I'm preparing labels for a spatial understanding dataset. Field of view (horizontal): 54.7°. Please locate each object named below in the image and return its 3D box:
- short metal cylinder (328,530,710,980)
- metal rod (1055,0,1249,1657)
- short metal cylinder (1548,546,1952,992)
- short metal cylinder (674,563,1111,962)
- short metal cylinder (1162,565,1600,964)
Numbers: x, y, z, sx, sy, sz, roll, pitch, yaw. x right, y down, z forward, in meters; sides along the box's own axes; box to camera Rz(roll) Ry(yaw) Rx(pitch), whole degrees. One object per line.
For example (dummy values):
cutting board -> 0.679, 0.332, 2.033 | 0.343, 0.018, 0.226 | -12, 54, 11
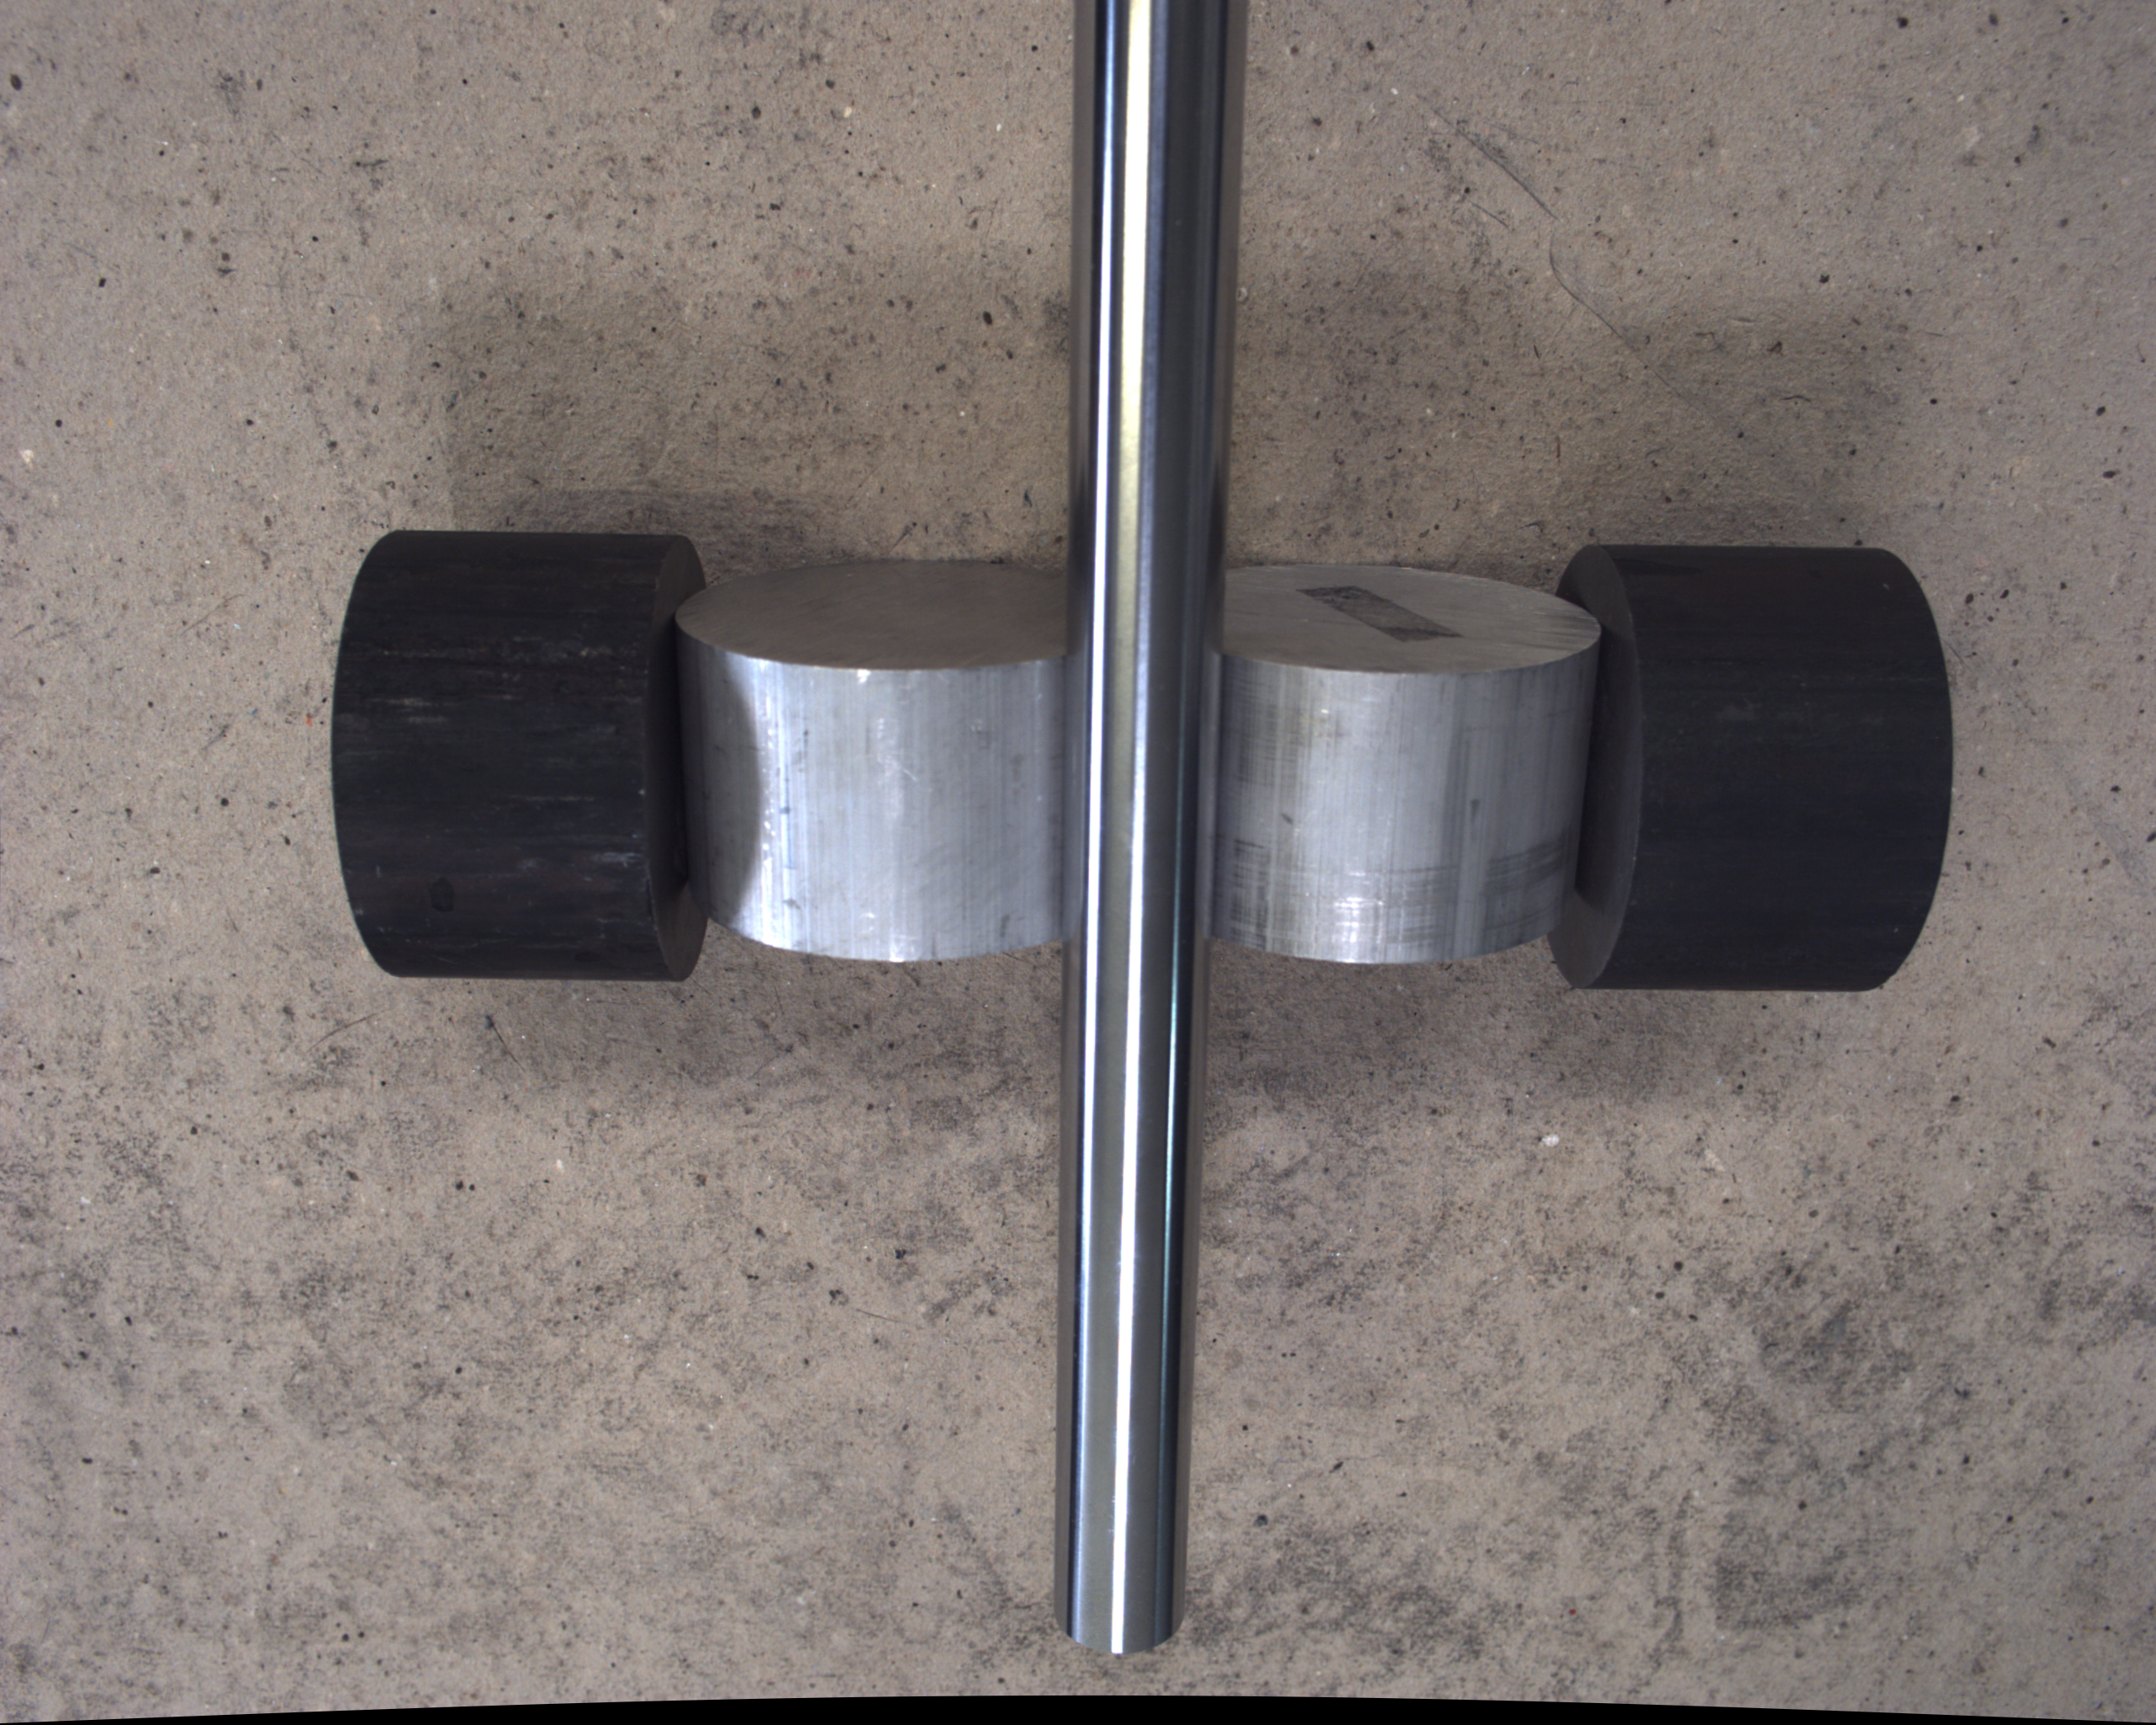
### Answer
short metal cylinder -> -0.095, -0.019, 0.374 | 0.050, 0.080, 0.079 | 1, 110, -1
metal rod -> 0.010, 0.003, 0.347 | 0.025, 0.025, 0.298 | 1, 110, -1
short metal cylinder -> 0.116, -0.017, 0.377 | 0.050, 0.080, 0.079 | 1, 110, -1
short metal cylinder -> -0.030, -0.021, 0.374 | 0.081, 0.080, 0.050 | 1, 110, -1
short metal cylinder -> 0.050, -0.020, 0.374 | 0.081, 0.080, 0.050 | 1, 110, -1
